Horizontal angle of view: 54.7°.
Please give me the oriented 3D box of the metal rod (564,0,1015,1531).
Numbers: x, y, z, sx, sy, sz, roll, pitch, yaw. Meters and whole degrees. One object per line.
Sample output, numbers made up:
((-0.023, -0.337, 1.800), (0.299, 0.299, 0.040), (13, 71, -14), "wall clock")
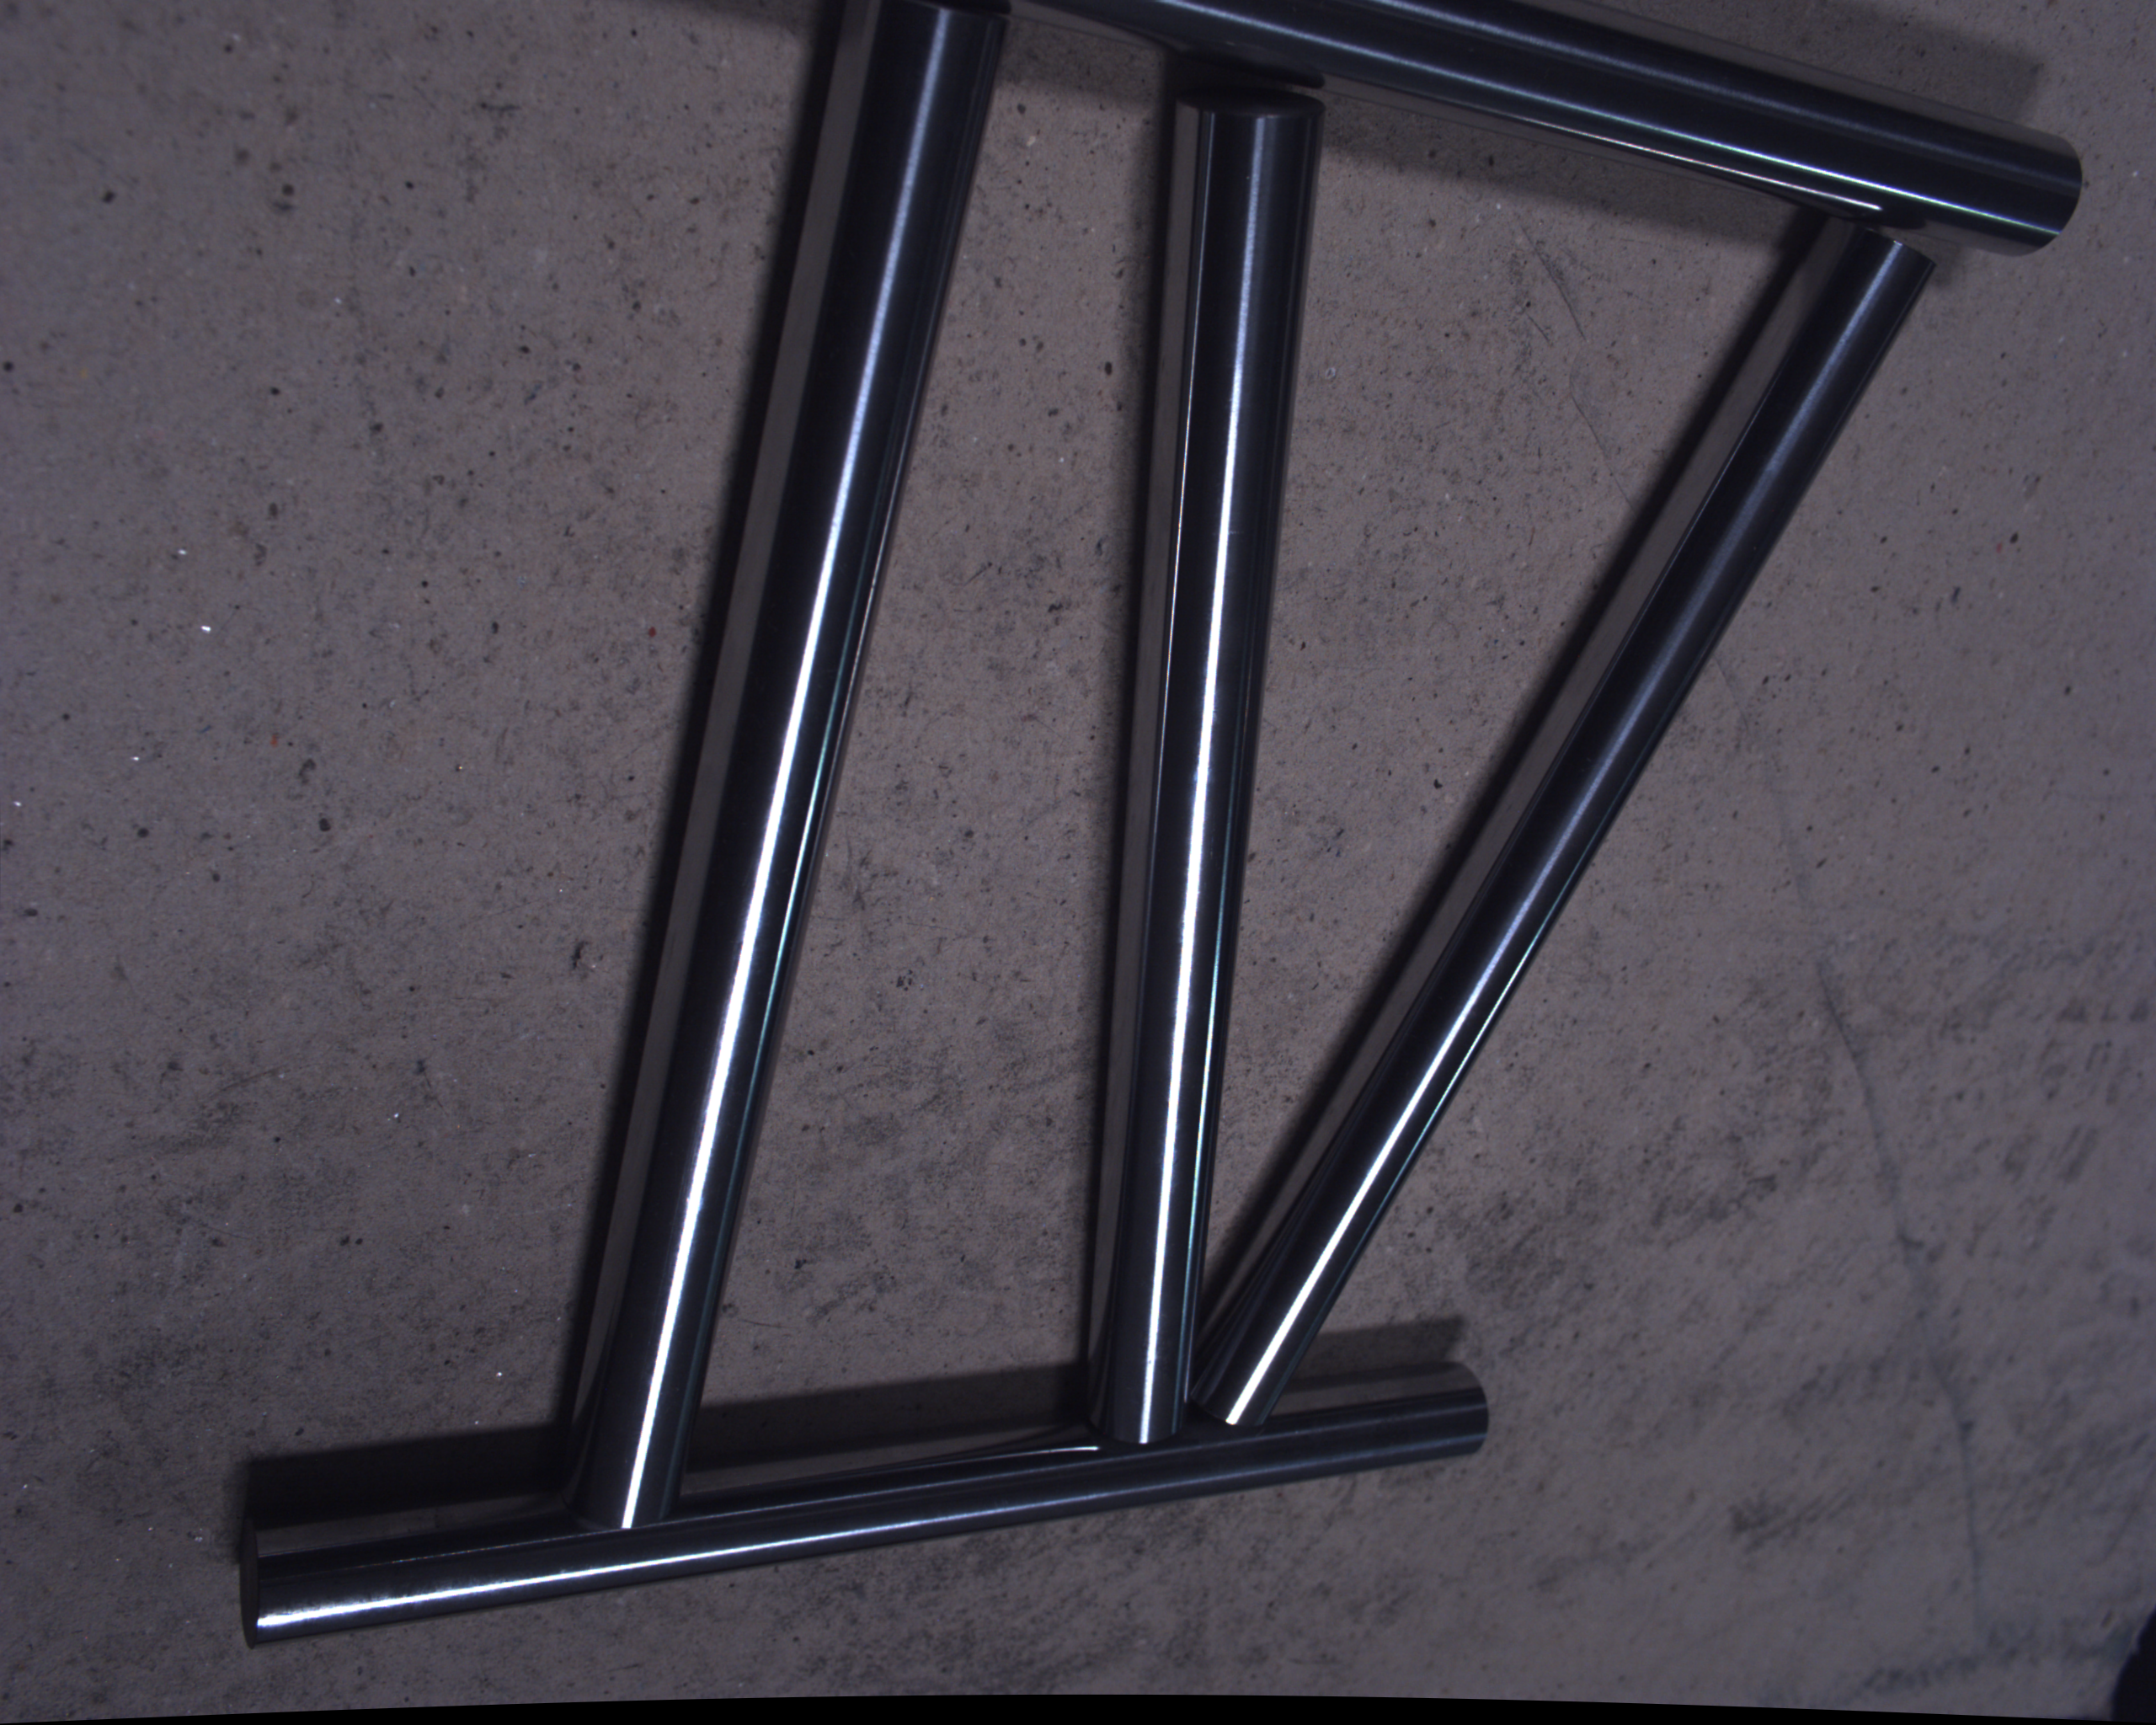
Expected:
((-0.058, 0.000, 0.377), (0.025, 0.025, 0.298), (1, 118, -29), "metal rod")

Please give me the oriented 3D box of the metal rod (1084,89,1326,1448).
((0.021, 0.002, 0.422), (0.025, 0.025, 0.298), (-11, 123, -23), "metal rod")

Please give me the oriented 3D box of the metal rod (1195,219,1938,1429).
((0.098, 0.002, 0.465), (0.025, 0.025, 0.298), (14, 111, -35), "metal rod")

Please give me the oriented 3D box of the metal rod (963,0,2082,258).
((0.065, -0.140, 0.359), (0.303, 0.025, 0.025), (1, 118, -29), "metal rod")

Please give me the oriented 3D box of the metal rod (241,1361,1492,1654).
((-0.030, 0.143, 0.481), (0.303, 0.025, 0.025), (1, 118, -29), "metal rod")
